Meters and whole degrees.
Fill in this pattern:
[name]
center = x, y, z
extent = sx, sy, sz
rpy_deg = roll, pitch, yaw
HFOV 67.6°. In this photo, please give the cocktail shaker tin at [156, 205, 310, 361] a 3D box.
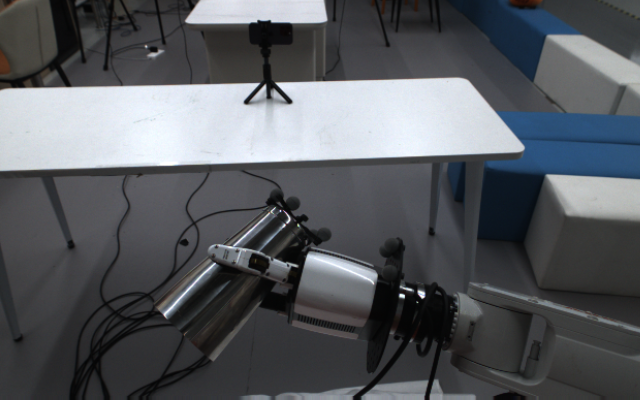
[cocktail shaker tin]
center = -0.093, 0.082, 0.555
extent = 0.093, 0.093, 0.170
rpy_deg = 32, 65, 35
